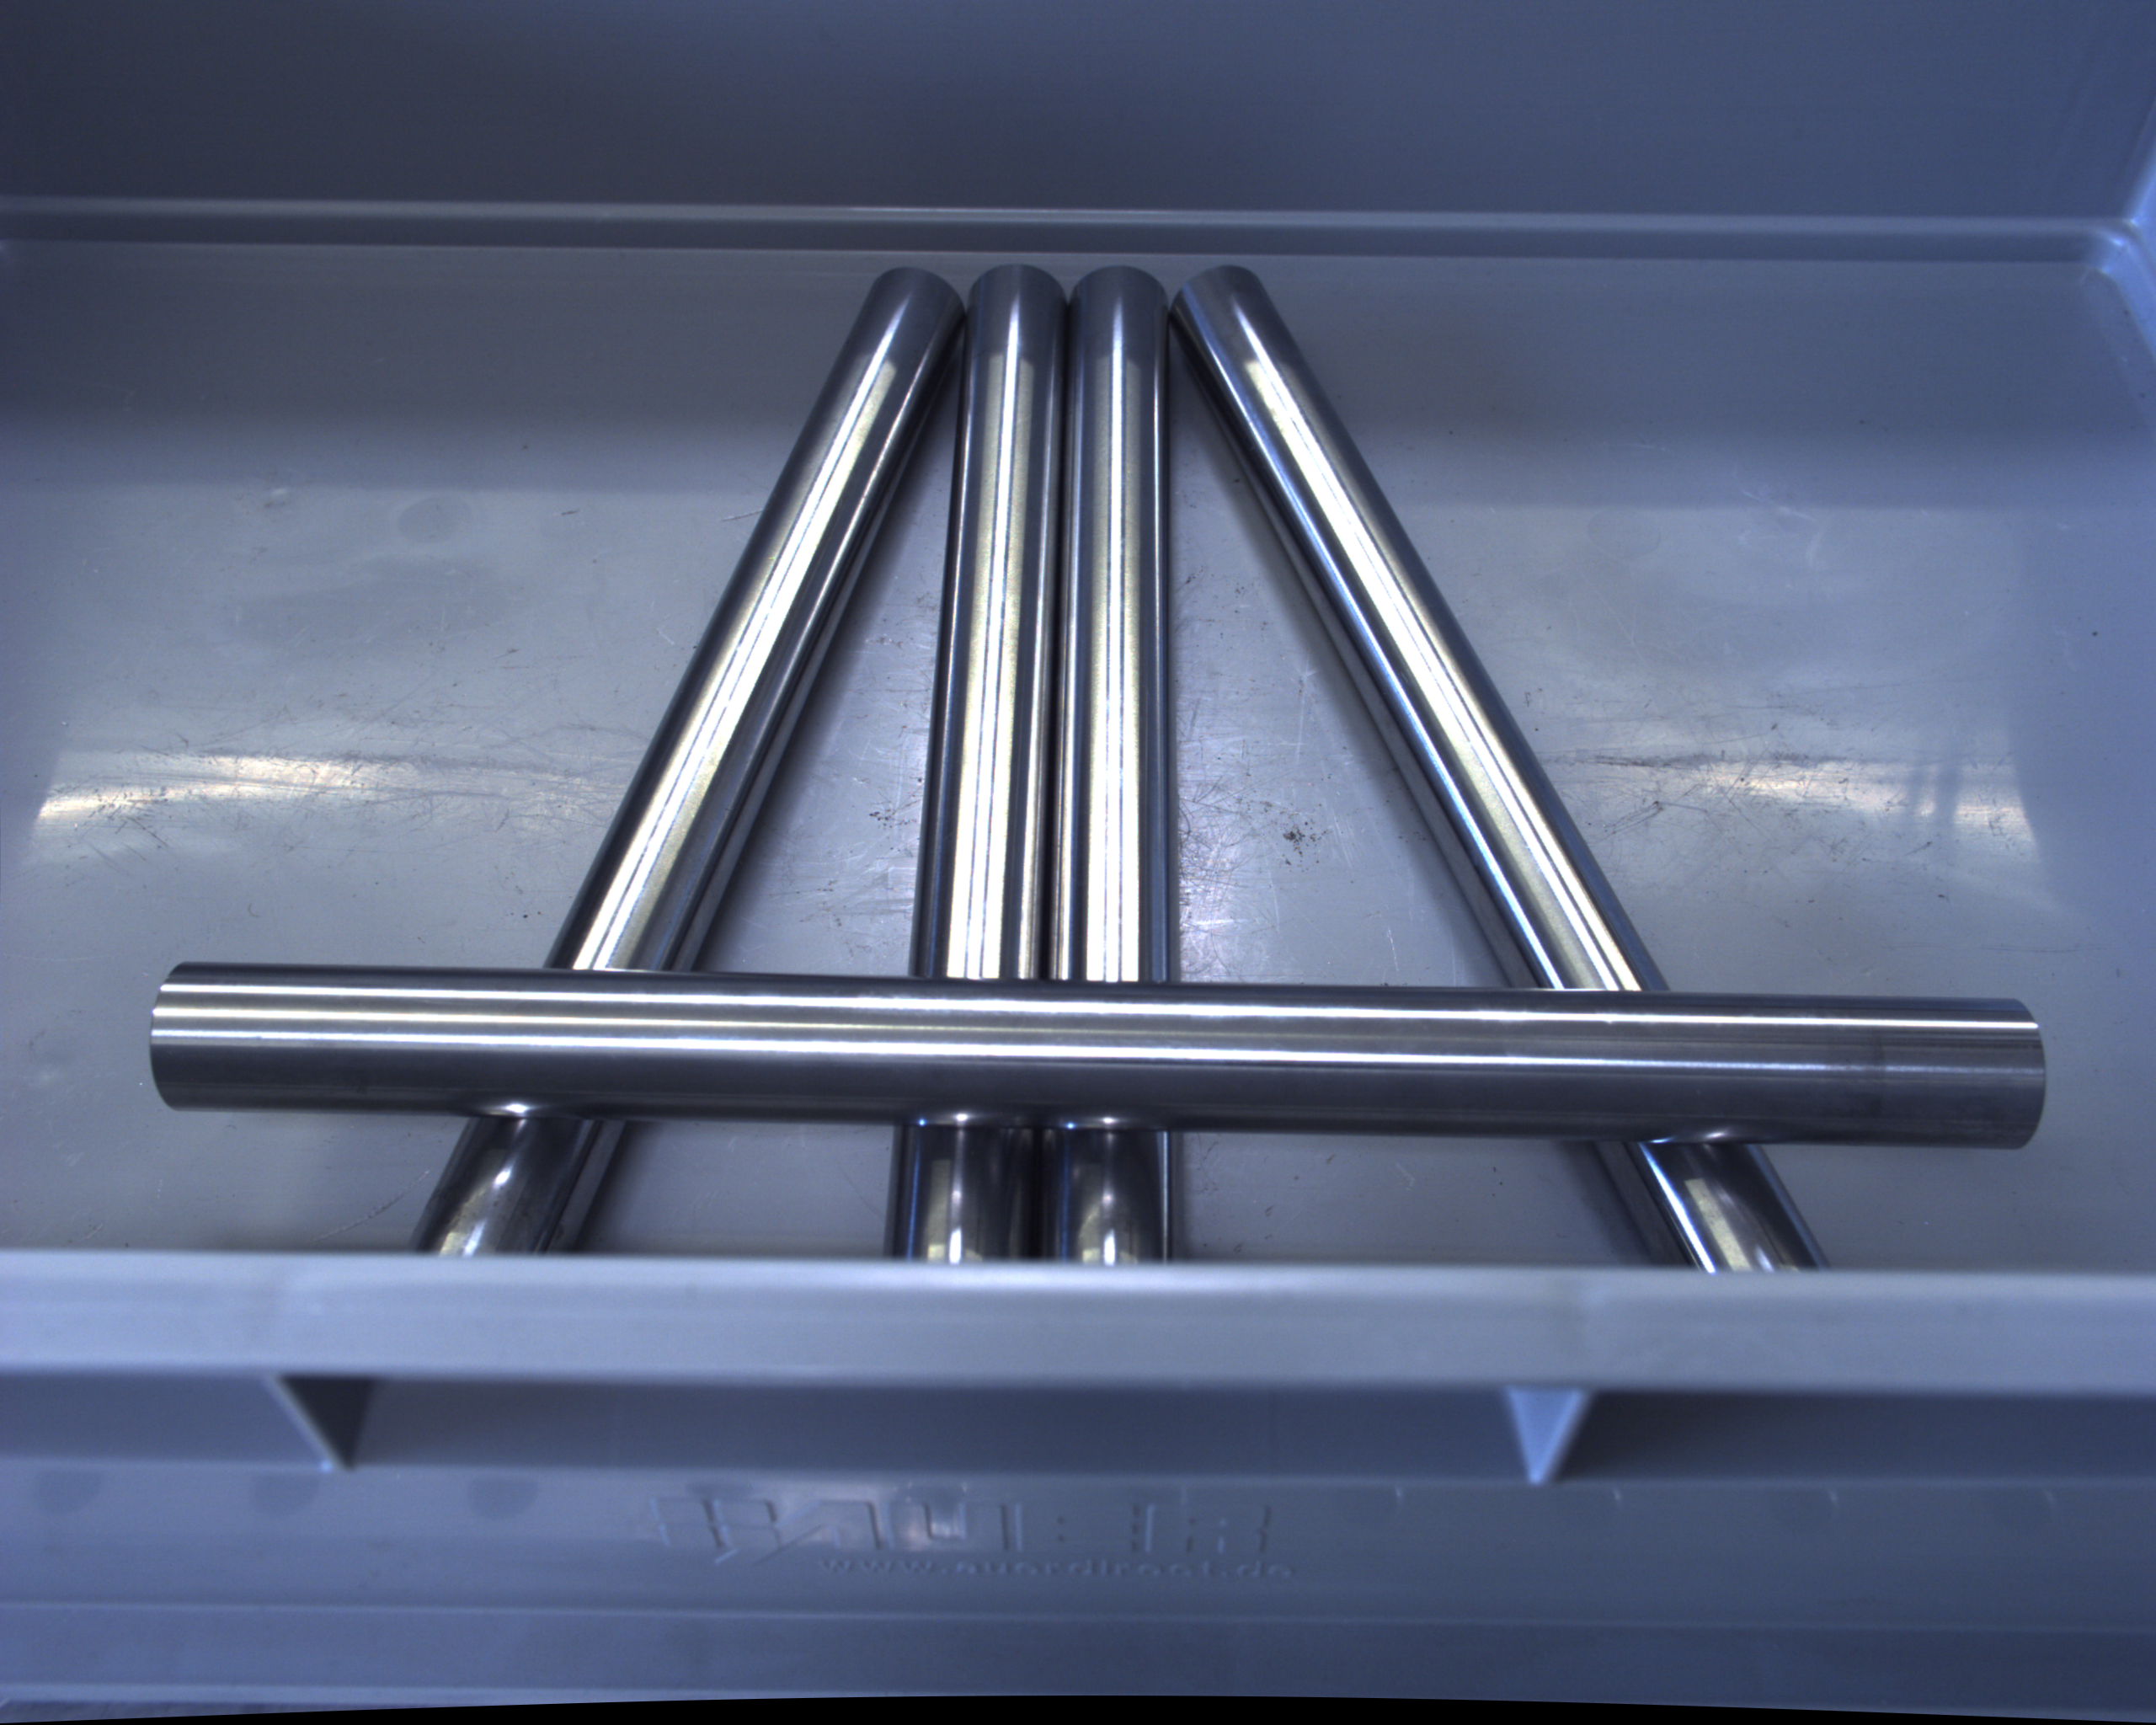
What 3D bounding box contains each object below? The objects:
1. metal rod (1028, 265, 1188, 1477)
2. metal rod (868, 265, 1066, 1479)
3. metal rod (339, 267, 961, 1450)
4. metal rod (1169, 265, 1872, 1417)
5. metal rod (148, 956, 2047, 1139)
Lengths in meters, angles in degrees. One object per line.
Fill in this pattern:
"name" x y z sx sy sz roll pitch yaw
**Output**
"metal rod" 0.007 -0.024 0.423 0.025 0.025 0.300 1 50 1
"metal rod" -0.017 -0.023 0.423 0.025 0.025 0.300 1 50 1
"metal rod" -0.073 -0.025 0.424 0.025 0.025 0.300 10 51 8
"metal rod" 0.075 -0.028 0.427 0.025 0.025 0.300 -12 51 -10
"metal rod" 0.003 0.030 0.344 0.302 0.025 0.025 1 50 1
